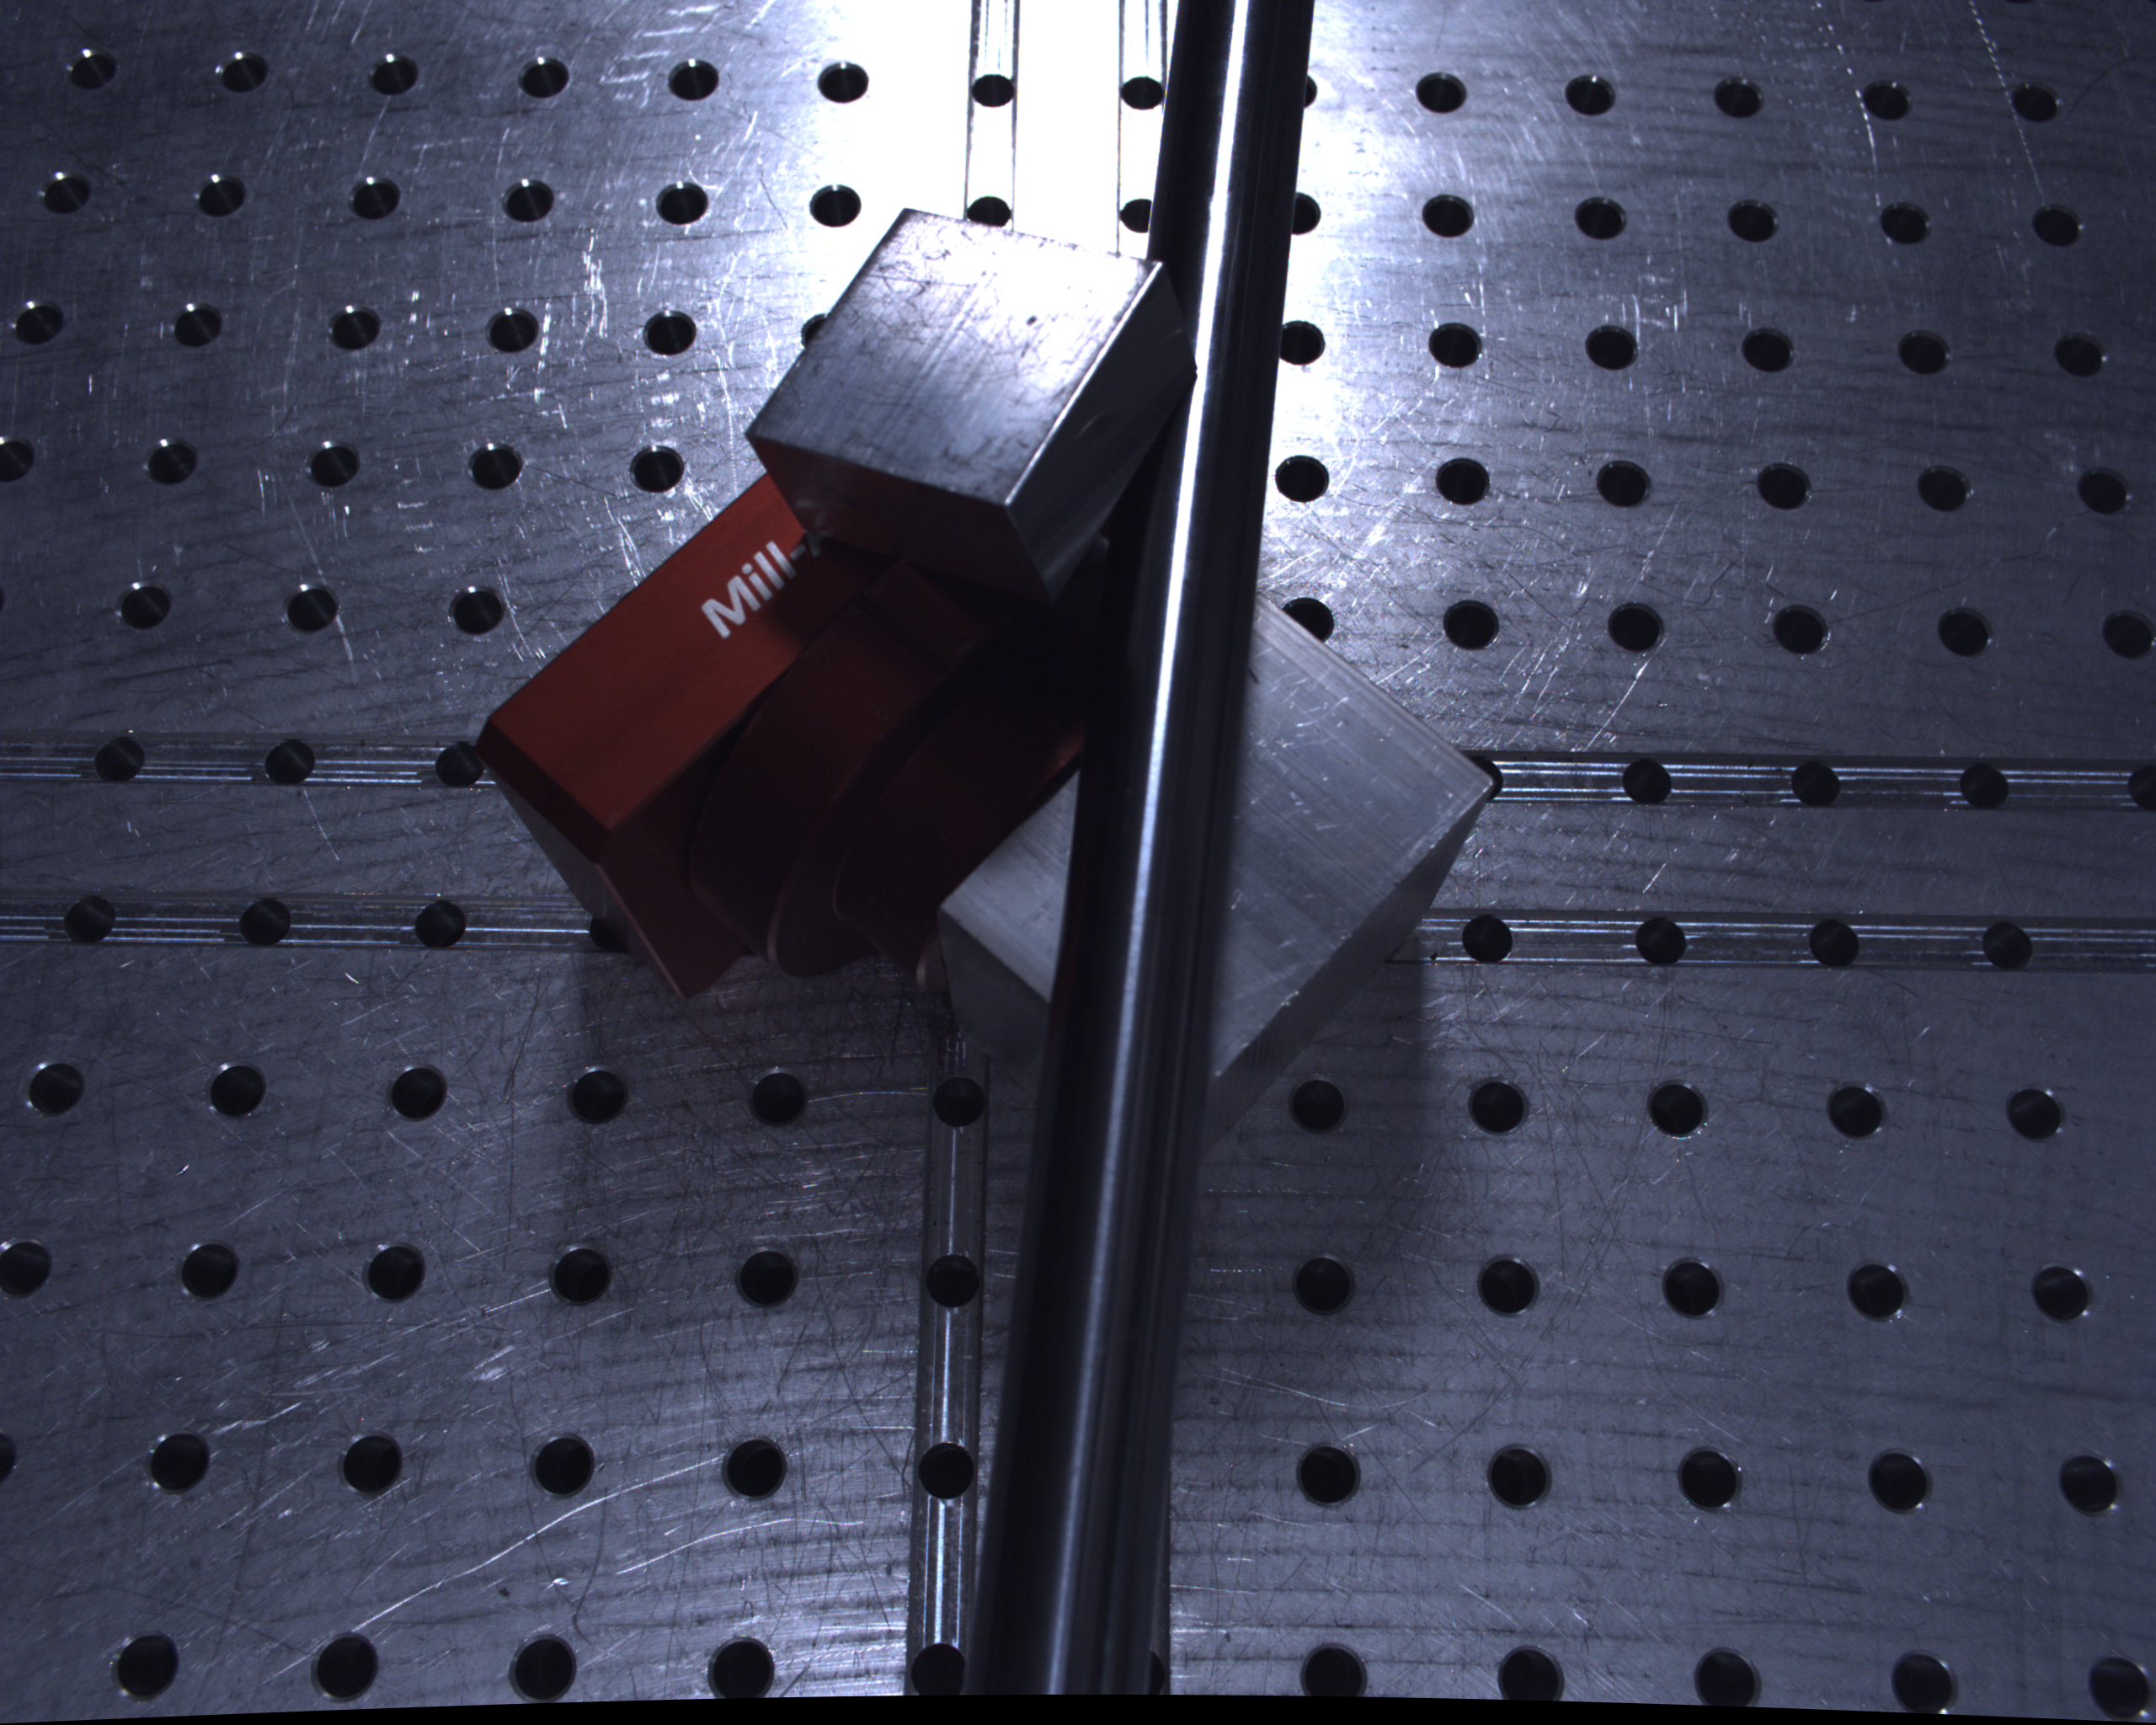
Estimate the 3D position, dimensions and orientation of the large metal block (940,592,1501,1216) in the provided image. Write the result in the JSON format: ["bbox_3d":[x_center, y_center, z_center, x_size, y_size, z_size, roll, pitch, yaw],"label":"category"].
[{"bbox_3d":[0.024,0.011,0.376,0.050,0.080,0.080,41,75,13],"label":"large metal block"}]

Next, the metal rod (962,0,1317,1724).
[{"bbox_3d":[0.014,-0.021,0.334,0.025,0.025,0.299,7,70,2],"label":"metal rod"}]

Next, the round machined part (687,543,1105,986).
[{"bbox_3d":[-0.021,-0.016,0.383,0.042,0.098,0.098,41,75,13],"label":"round machined part"}]

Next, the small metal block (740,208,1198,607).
[{"bbox_3d":[-0.017,-0.074,0.335,0.050,0.025,0.050,20,68,26],"label":"small metal block"}]

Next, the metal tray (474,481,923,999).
[{"bbox_3d":[-0.044,-0.040,0.391,0.030,0.090,0.130,41,75,13],"label":"metal tray"}]
